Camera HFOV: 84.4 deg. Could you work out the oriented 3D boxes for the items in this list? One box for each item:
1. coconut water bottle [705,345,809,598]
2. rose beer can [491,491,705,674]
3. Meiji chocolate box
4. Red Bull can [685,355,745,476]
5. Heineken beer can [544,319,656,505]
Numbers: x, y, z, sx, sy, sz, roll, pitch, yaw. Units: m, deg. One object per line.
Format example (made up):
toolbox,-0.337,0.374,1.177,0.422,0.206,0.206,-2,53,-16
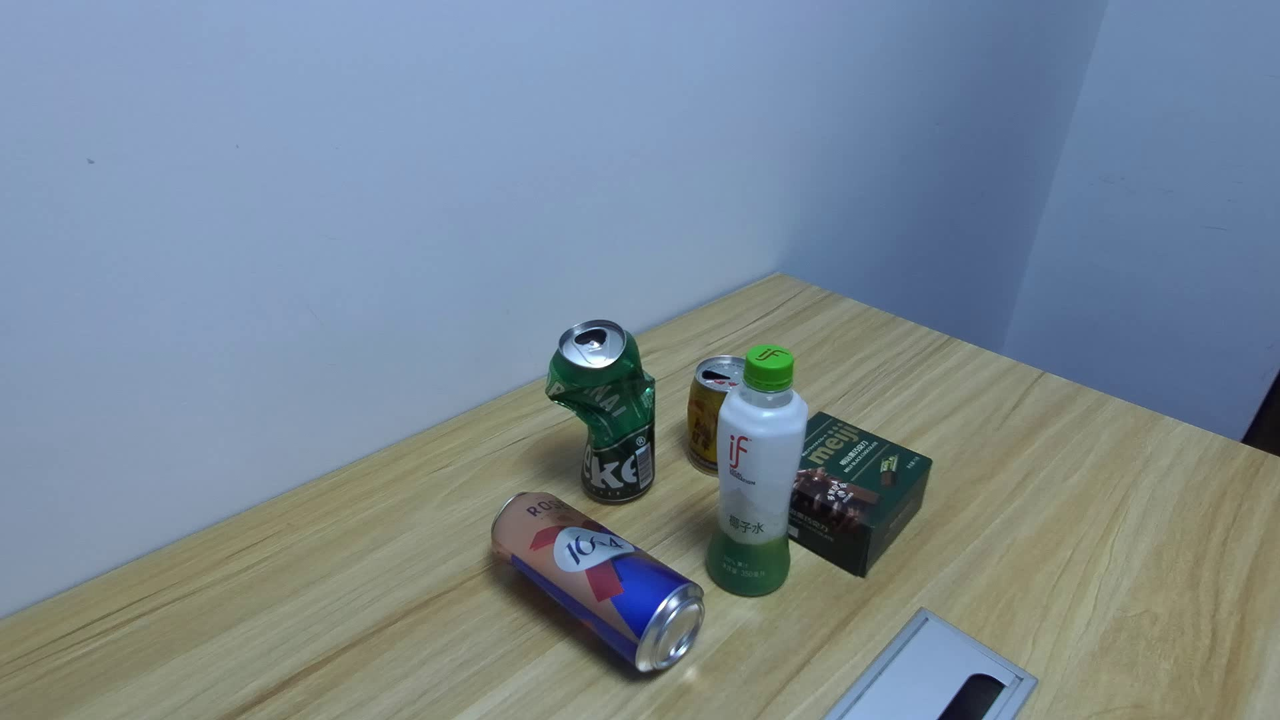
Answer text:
coconut water bottle,0.082,0.078,0.494,0.063,0.189,0.063,0,31,0
rose beer can,-0.033,0.149,0.501,0.167,0.069,0.070,23,58,37
Meiji chocolate box,0.165,0.106,0.585,0.108,0.056,0.110,25,38,35
Red Bull can,0.078,0.051,0.638,0.069,0.092,0.069,-1,31,1
Heineken beer can,-0.025,0.044,0.589,0.067,0.159,0.079,7,38,20
